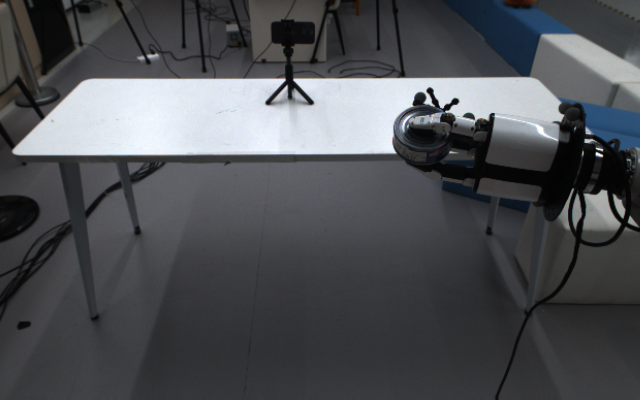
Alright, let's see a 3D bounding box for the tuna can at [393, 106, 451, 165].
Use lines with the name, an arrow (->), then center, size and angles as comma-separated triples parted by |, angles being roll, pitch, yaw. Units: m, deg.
tuna can -> 0.151, -0.088, 0.690 | 0.085, 0.034, 0.085 | -4, 58, 6
